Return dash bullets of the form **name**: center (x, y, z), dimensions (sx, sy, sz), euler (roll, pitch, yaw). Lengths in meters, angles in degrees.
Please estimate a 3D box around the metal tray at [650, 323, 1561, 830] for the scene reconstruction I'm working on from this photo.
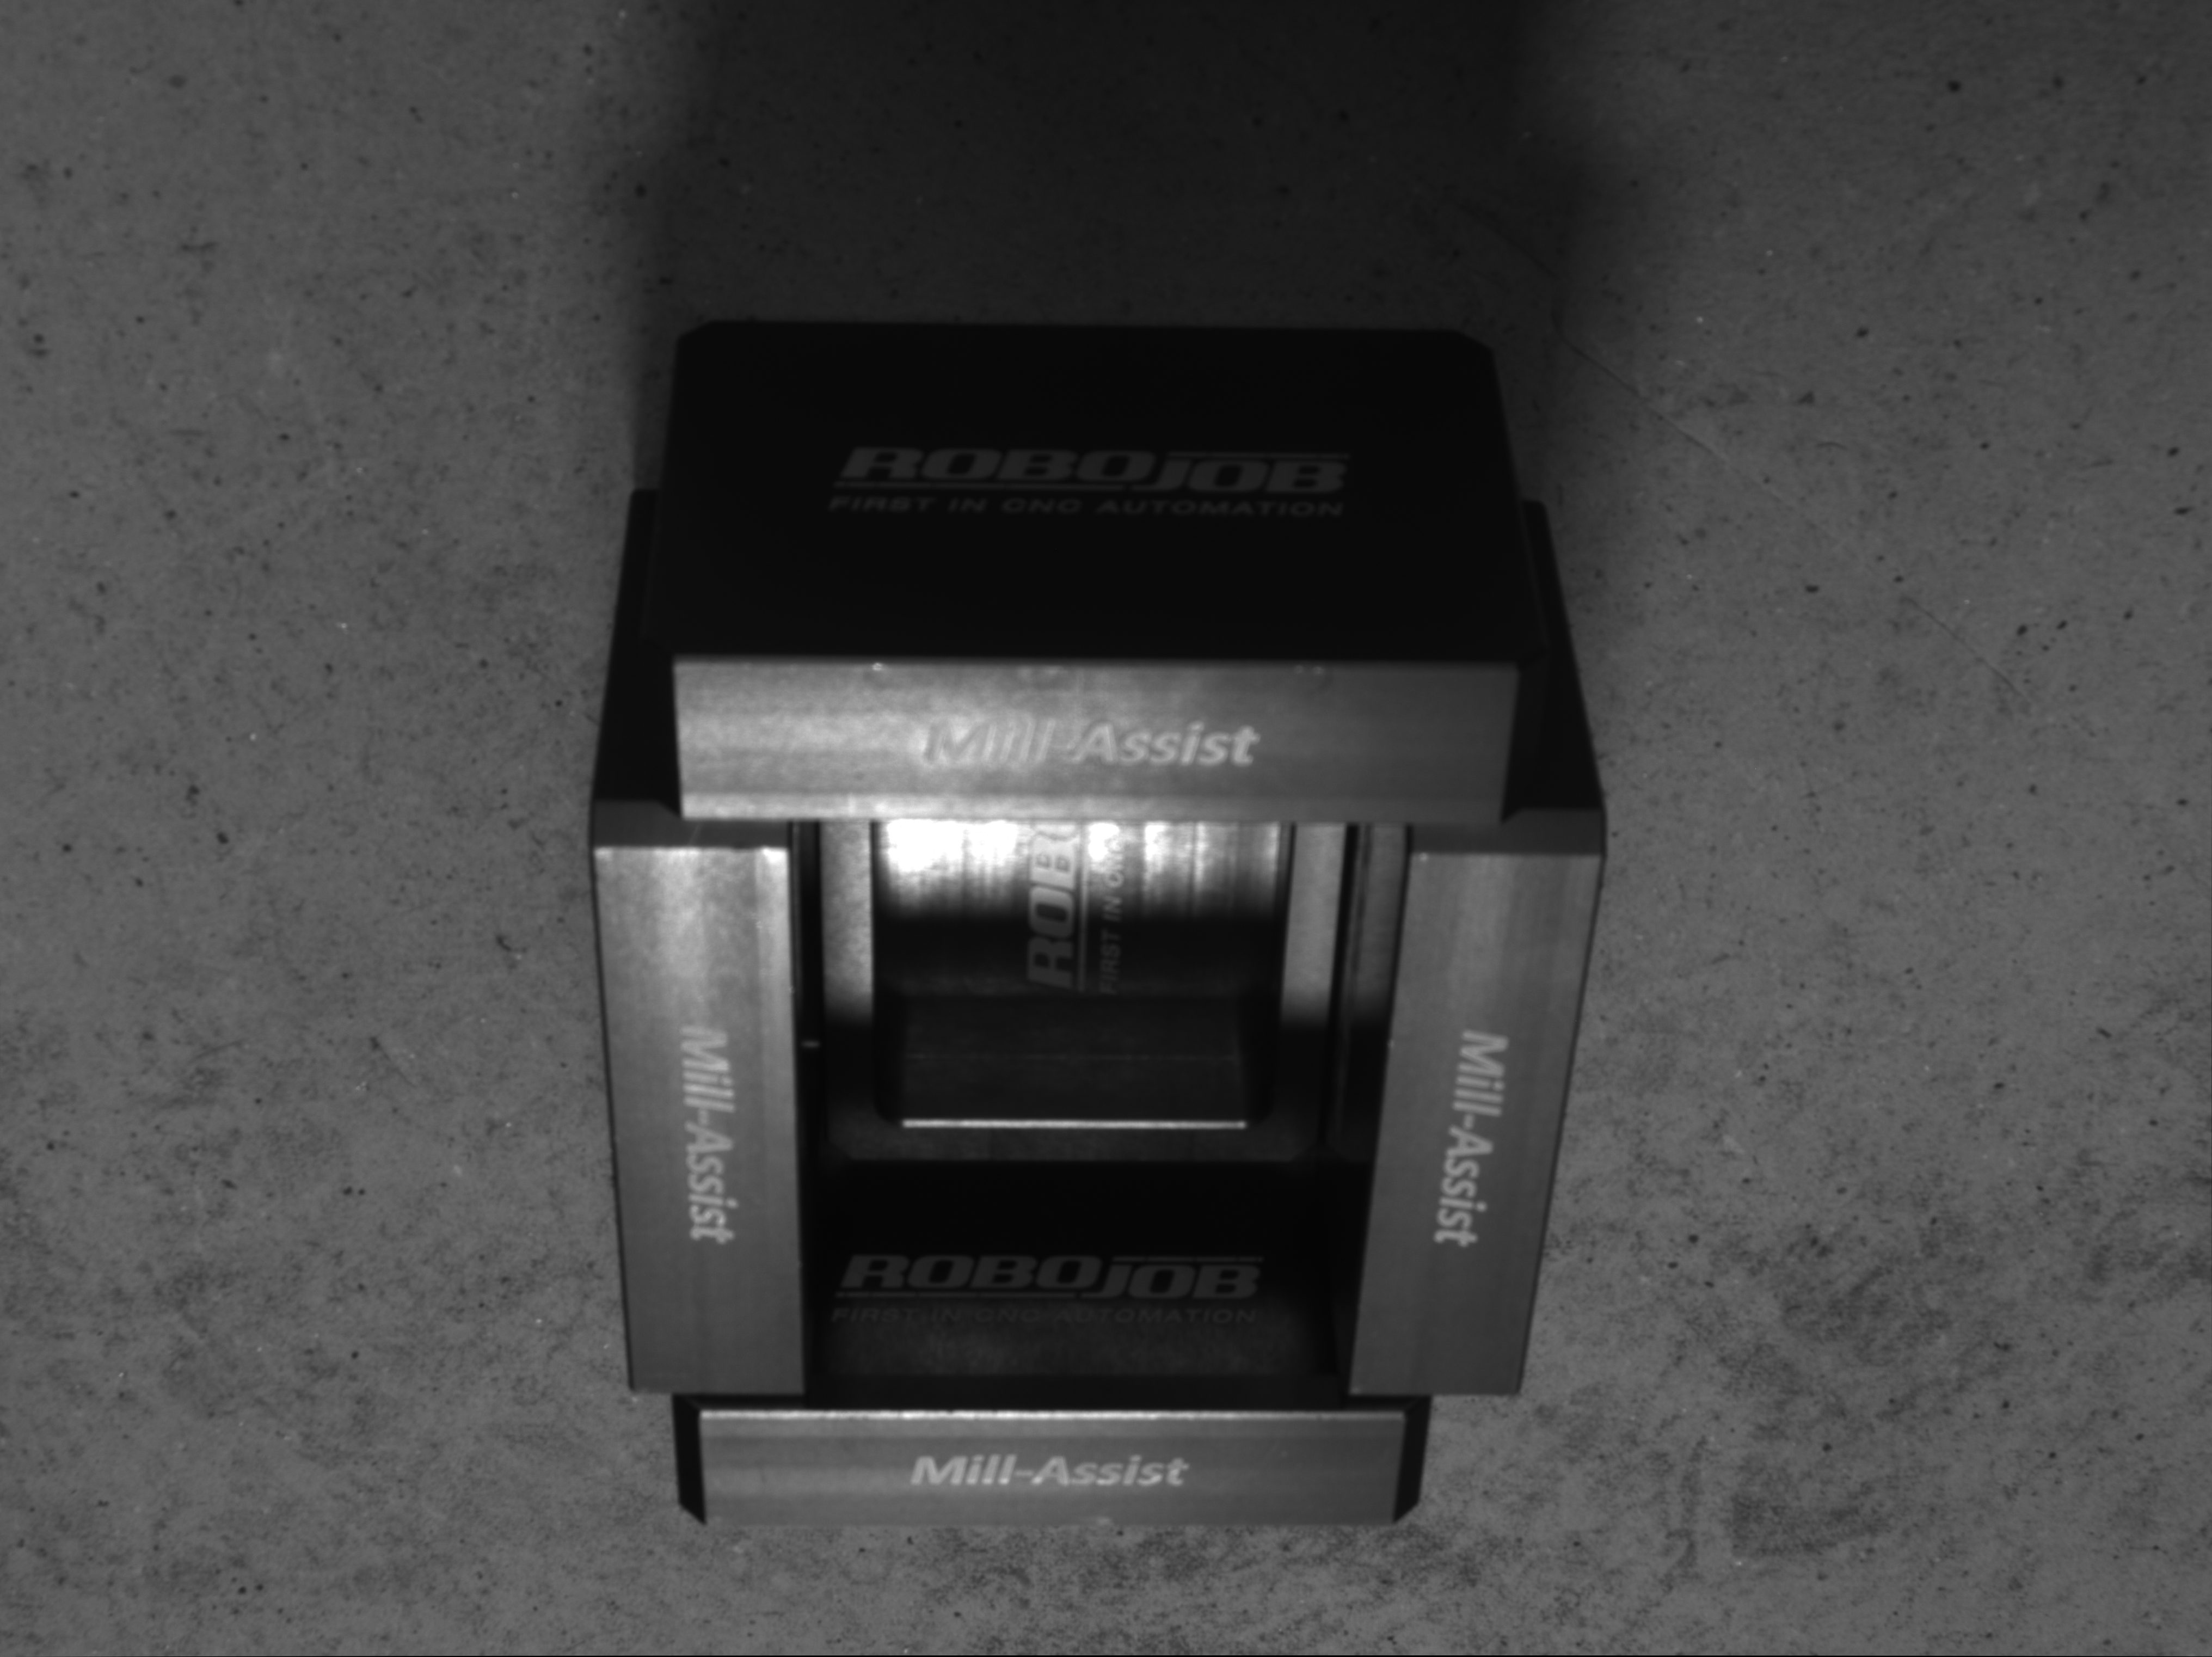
- **metal tray**: center (-0.001, -0.040, 0.562), dimensions (0.130, 0.090, 0.030), euler (1, 130, -2)

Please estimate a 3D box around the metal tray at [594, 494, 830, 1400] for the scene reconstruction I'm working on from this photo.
- **metal tray**: center (-0.063, 0.021, 0.611), dimensions (0.030, 0.090, 0.130), euler (1, 130, -2)

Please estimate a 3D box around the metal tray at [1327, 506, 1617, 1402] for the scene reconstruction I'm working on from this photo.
- **metal tray**: center (0.058, 0.022, 0.616), dimensions (0.030, 0.090, 0.130), euler (1, 130, -2)

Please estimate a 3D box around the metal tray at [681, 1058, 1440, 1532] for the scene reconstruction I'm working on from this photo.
- **metal tray**: center (-0.009, 0.083, 0.665), dimensions (0.130, 0.090, 0.030), euler (1, 130, -2)

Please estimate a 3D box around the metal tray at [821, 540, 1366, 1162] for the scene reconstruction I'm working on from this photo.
- **metal tray**: center (-0.004, 0.002, 0.636), dimensions (0.090, 0.030, 0.130), euler (1, 130, -2)
